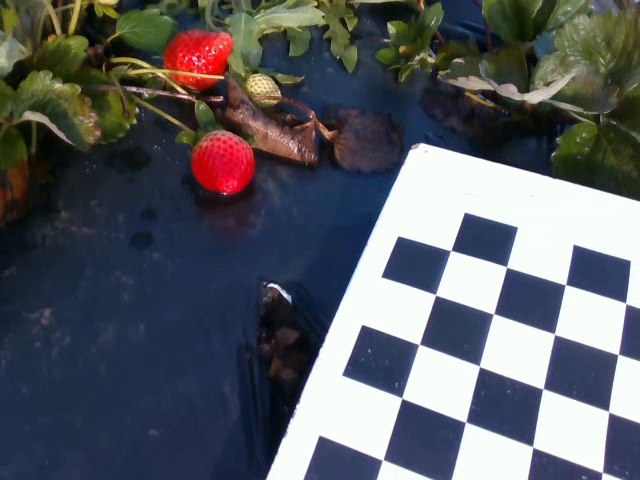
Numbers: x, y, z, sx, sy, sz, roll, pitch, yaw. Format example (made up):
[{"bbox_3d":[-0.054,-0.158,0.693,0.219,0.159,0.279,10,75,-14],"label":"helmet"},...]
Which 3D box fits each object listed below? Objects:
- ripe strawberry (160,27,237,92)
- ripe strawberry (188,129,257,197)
[{"bbox_3d":[-0.069,-0.109,0.343,0.048,0.040,0.031,-23,-47,36],"label":"ripe strawberry"},{"bbox_3d":[-0.048,-0.036,0.294,0.035,0.043,0.030,-11,-39,-10],"label":"ripe strawberry"}]
